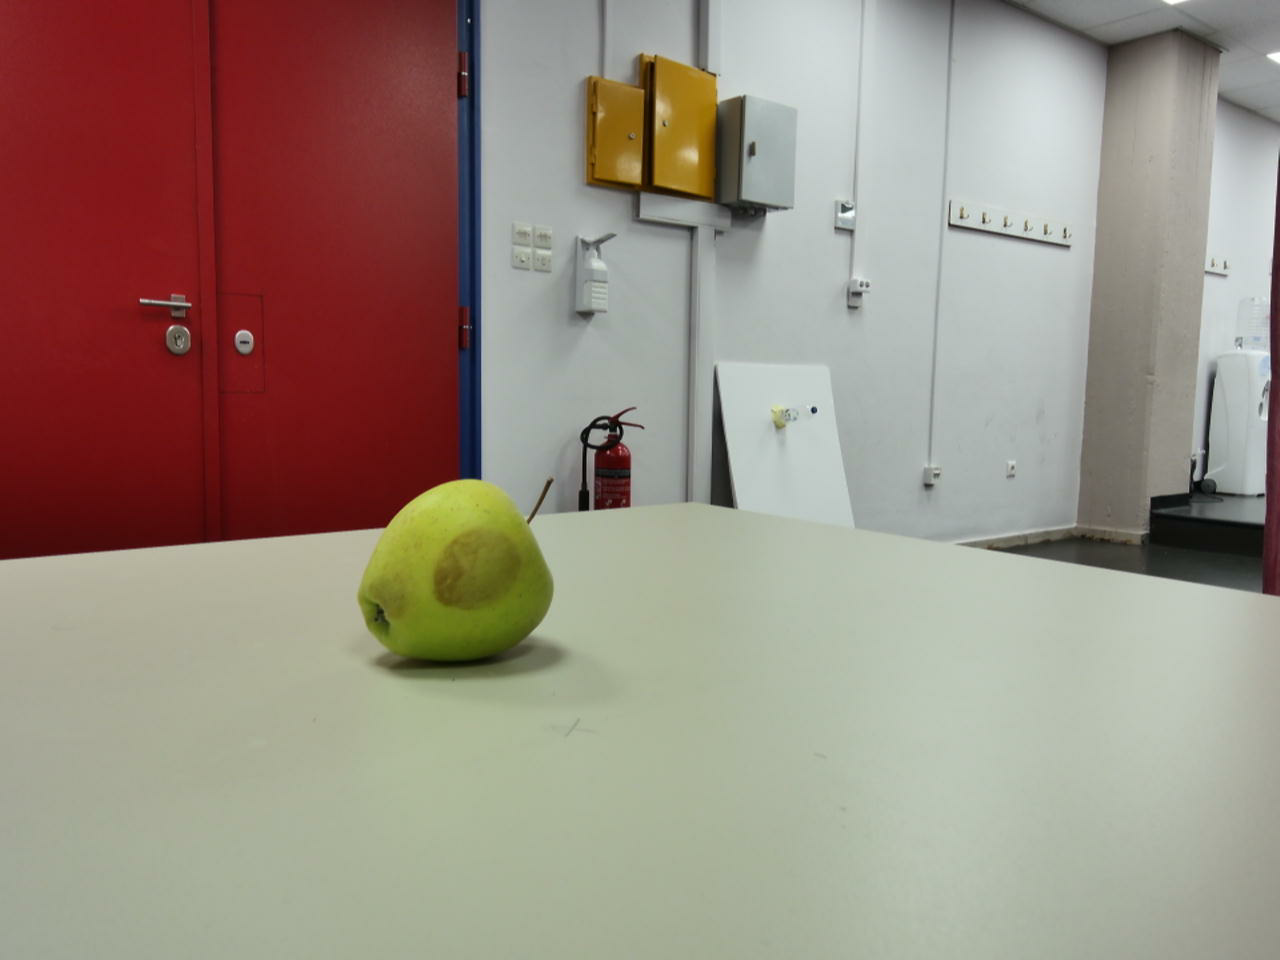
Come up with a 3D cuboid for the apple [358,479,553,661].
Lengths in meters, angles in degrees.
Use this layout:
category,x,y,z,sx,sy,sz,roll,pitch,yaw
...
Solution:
category,x,y,z,sx,sy,sz,roll,pitch,yaw
apple,-0.078,0.039,0.432,0.077,0.075,0.072,1,4,6
